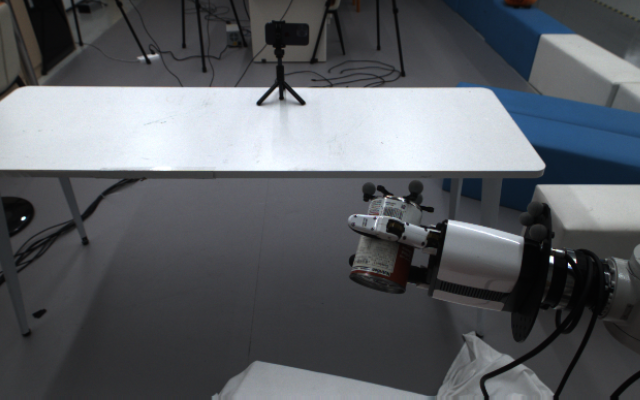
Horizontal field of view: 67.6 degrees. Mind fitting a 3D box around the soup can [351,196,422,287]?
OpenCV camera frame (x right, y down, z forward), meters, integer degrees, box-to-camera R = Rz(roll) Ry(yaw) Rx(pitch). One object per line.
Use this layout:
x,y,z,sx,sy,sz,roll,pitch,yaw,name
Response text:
0.081,0.050,0.582,0.067,0.067,0.101,12,71,14,soup can
